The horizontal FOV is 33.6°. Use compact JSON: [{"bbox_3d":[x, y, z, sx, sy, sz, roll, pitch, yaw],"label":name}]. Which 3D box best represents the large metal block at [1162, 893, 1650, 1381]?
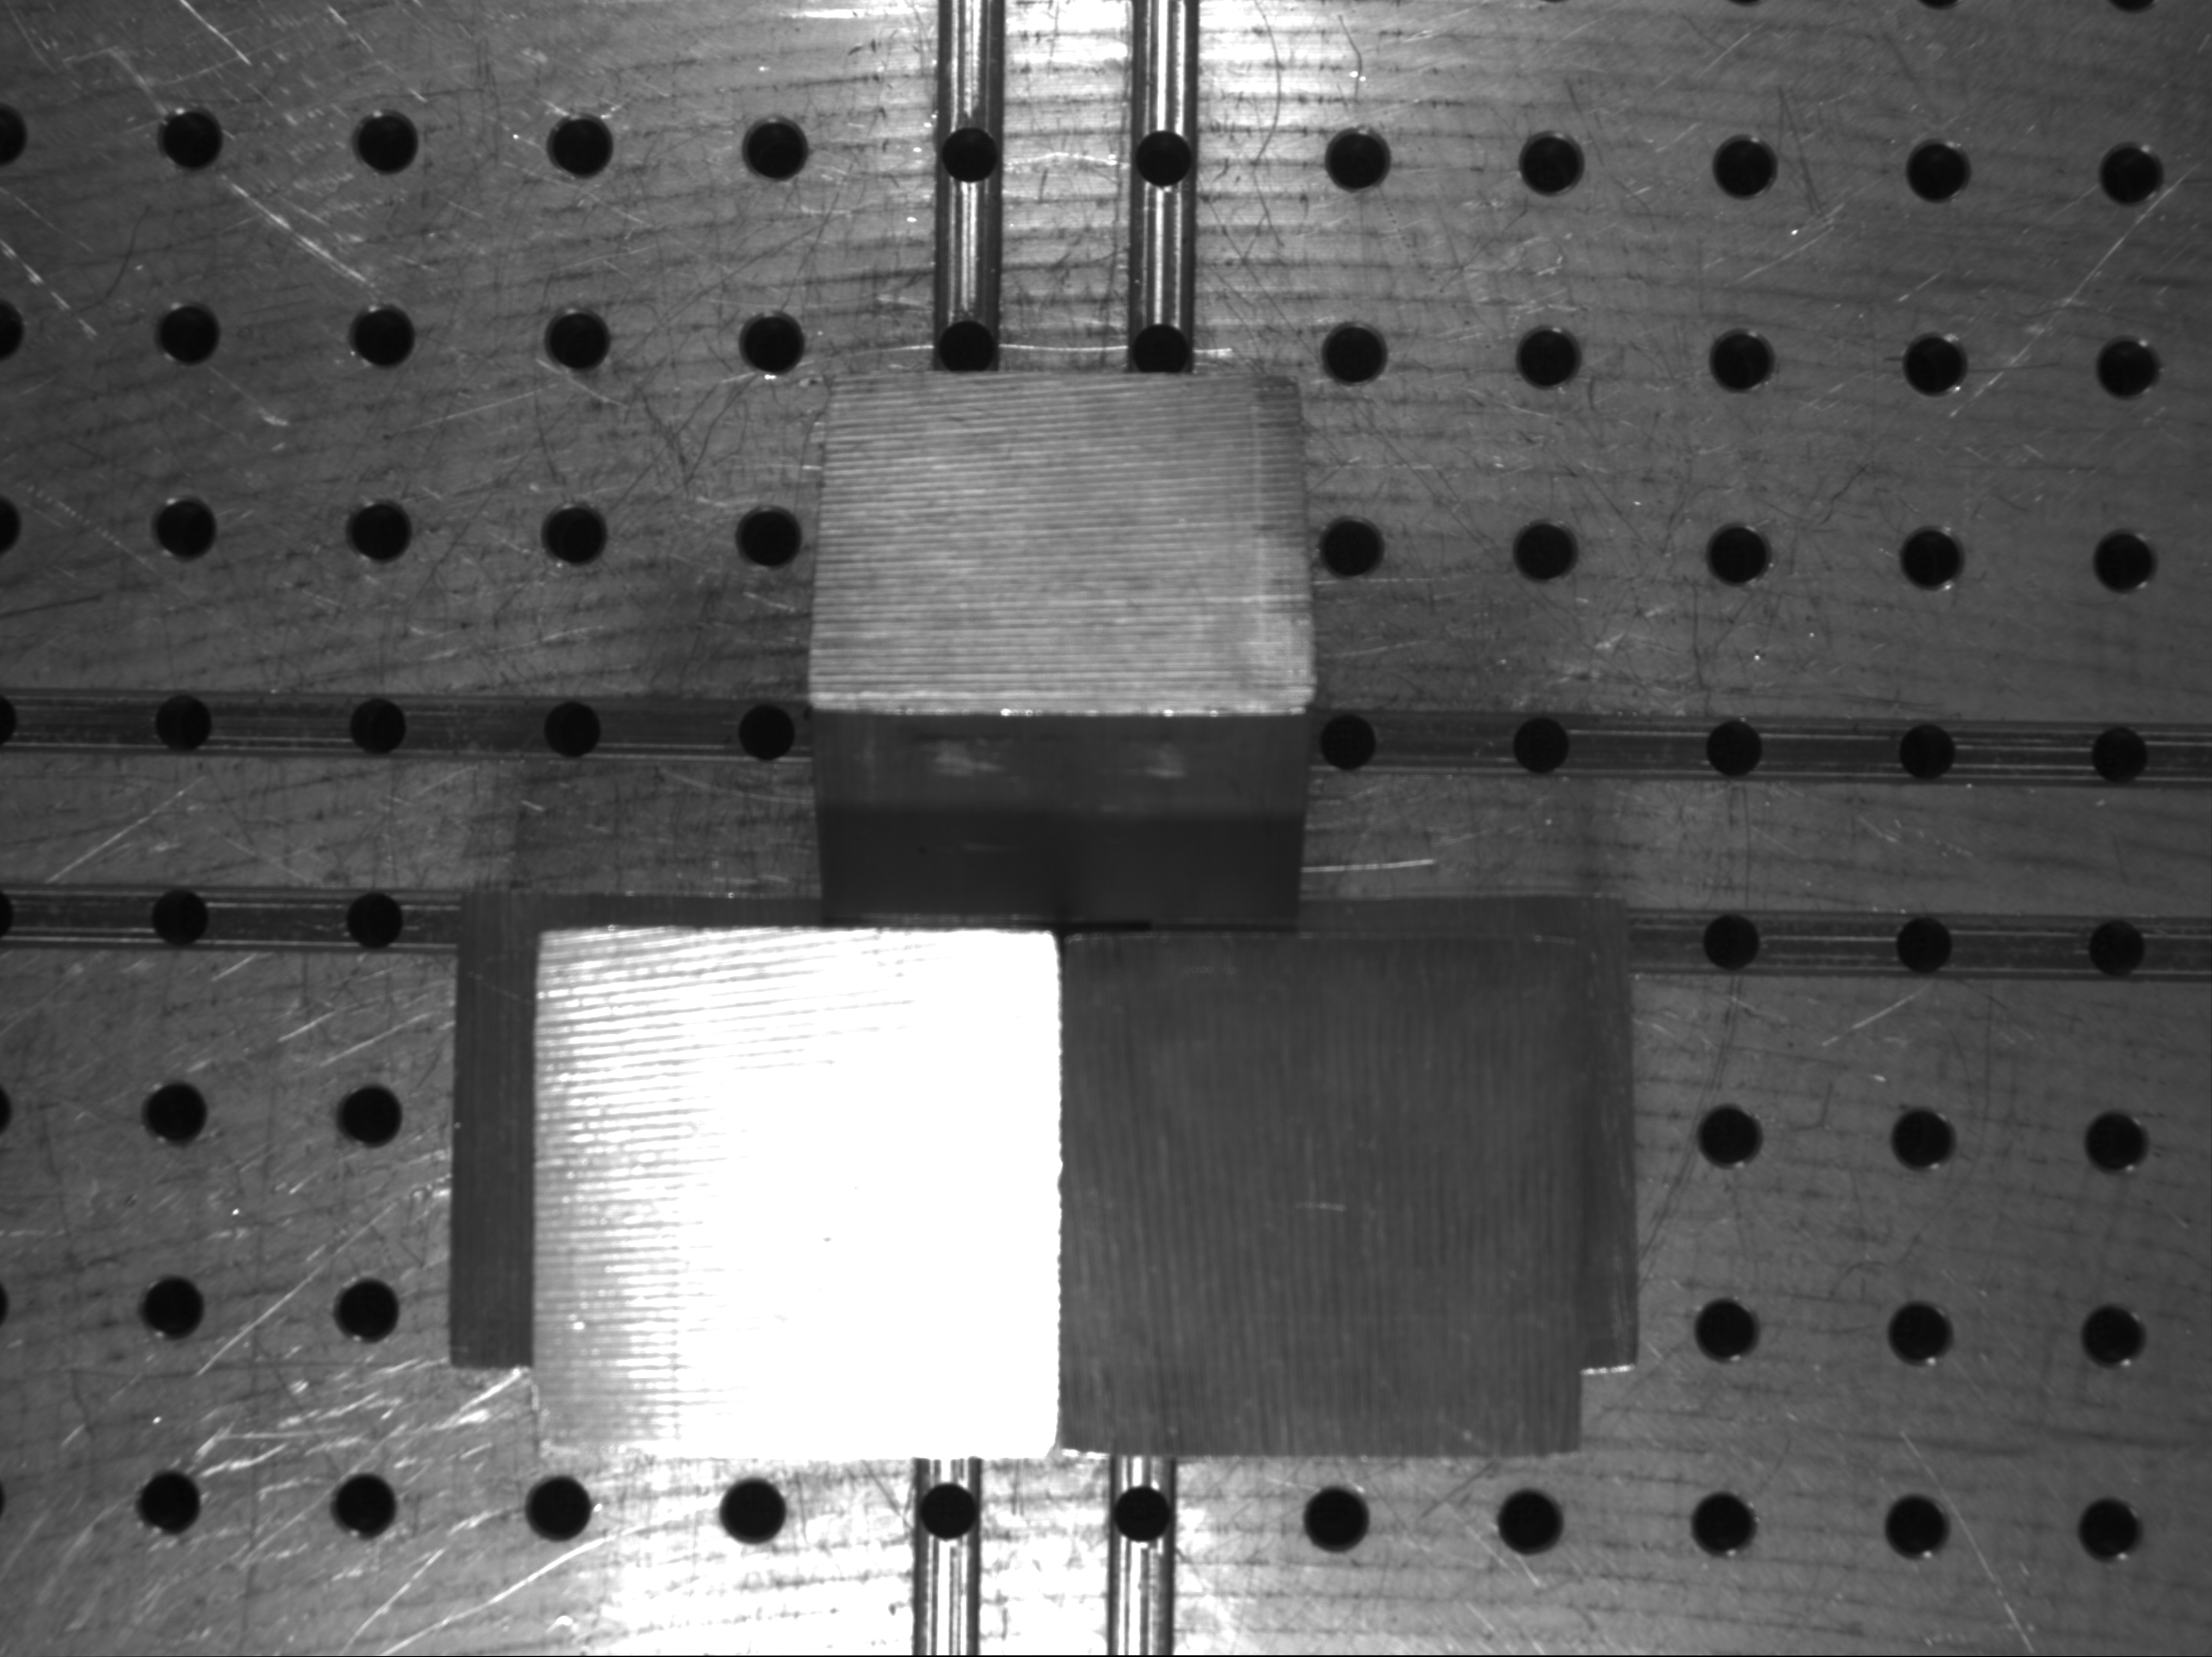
[{"bbox_3d":[0.050,0.051,0.635,0.080,0.050,0.080,-1,90,0],"label":"large metal block"}]

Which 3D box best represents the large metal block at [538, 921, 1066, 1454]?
[{"bbox_3d":[-0.046,0.055,0.582,0.080,0.050,0.080,0,90,0],"label":"large metal block"}]

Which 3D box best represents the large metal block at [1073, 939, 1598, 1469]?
[{"bbox_3d":[0.035,0.057,0.583,0.080,0.050,0.080,0,90,0],"label":"large metal block"}]

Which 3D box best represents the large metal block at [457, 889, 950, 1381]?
[{"bbox_3d":[-0.067,0.051,0.635,0.080,0.050,0.080,2,90,0],"label":"large metal block"}]

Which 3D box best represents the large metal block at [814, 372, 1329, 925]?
[{"bbox_3d":[-0.006,-0.031,0.614,0.080,0.050,0.080,0,48,-1],"label":"large metal block"}]
